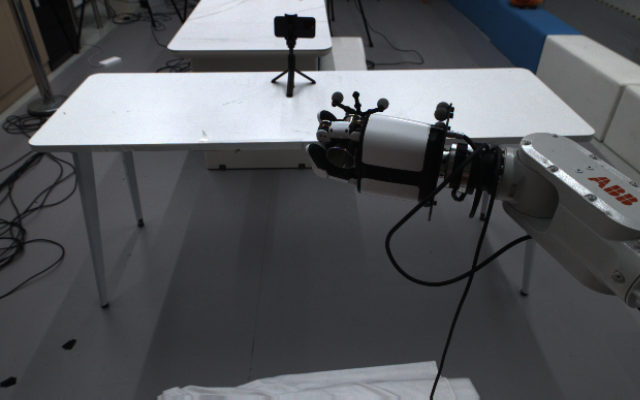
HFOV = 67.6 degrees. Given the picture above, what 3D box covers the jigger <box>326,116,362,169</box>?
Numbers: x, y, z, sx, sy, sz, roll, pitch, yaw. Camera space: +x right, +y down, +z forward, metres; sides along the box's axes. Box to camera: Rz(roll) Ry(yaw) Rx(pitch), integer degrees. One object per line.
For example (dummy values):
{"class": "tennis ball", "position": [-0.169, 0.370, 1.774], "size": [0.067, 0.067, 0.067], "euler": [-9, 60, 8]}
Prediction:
{"class": "jigger", "position": [0.042, -0.084, 0.686], "size": [0.043, 0.043, 0.071], "euler": [13, 58, 16]}
